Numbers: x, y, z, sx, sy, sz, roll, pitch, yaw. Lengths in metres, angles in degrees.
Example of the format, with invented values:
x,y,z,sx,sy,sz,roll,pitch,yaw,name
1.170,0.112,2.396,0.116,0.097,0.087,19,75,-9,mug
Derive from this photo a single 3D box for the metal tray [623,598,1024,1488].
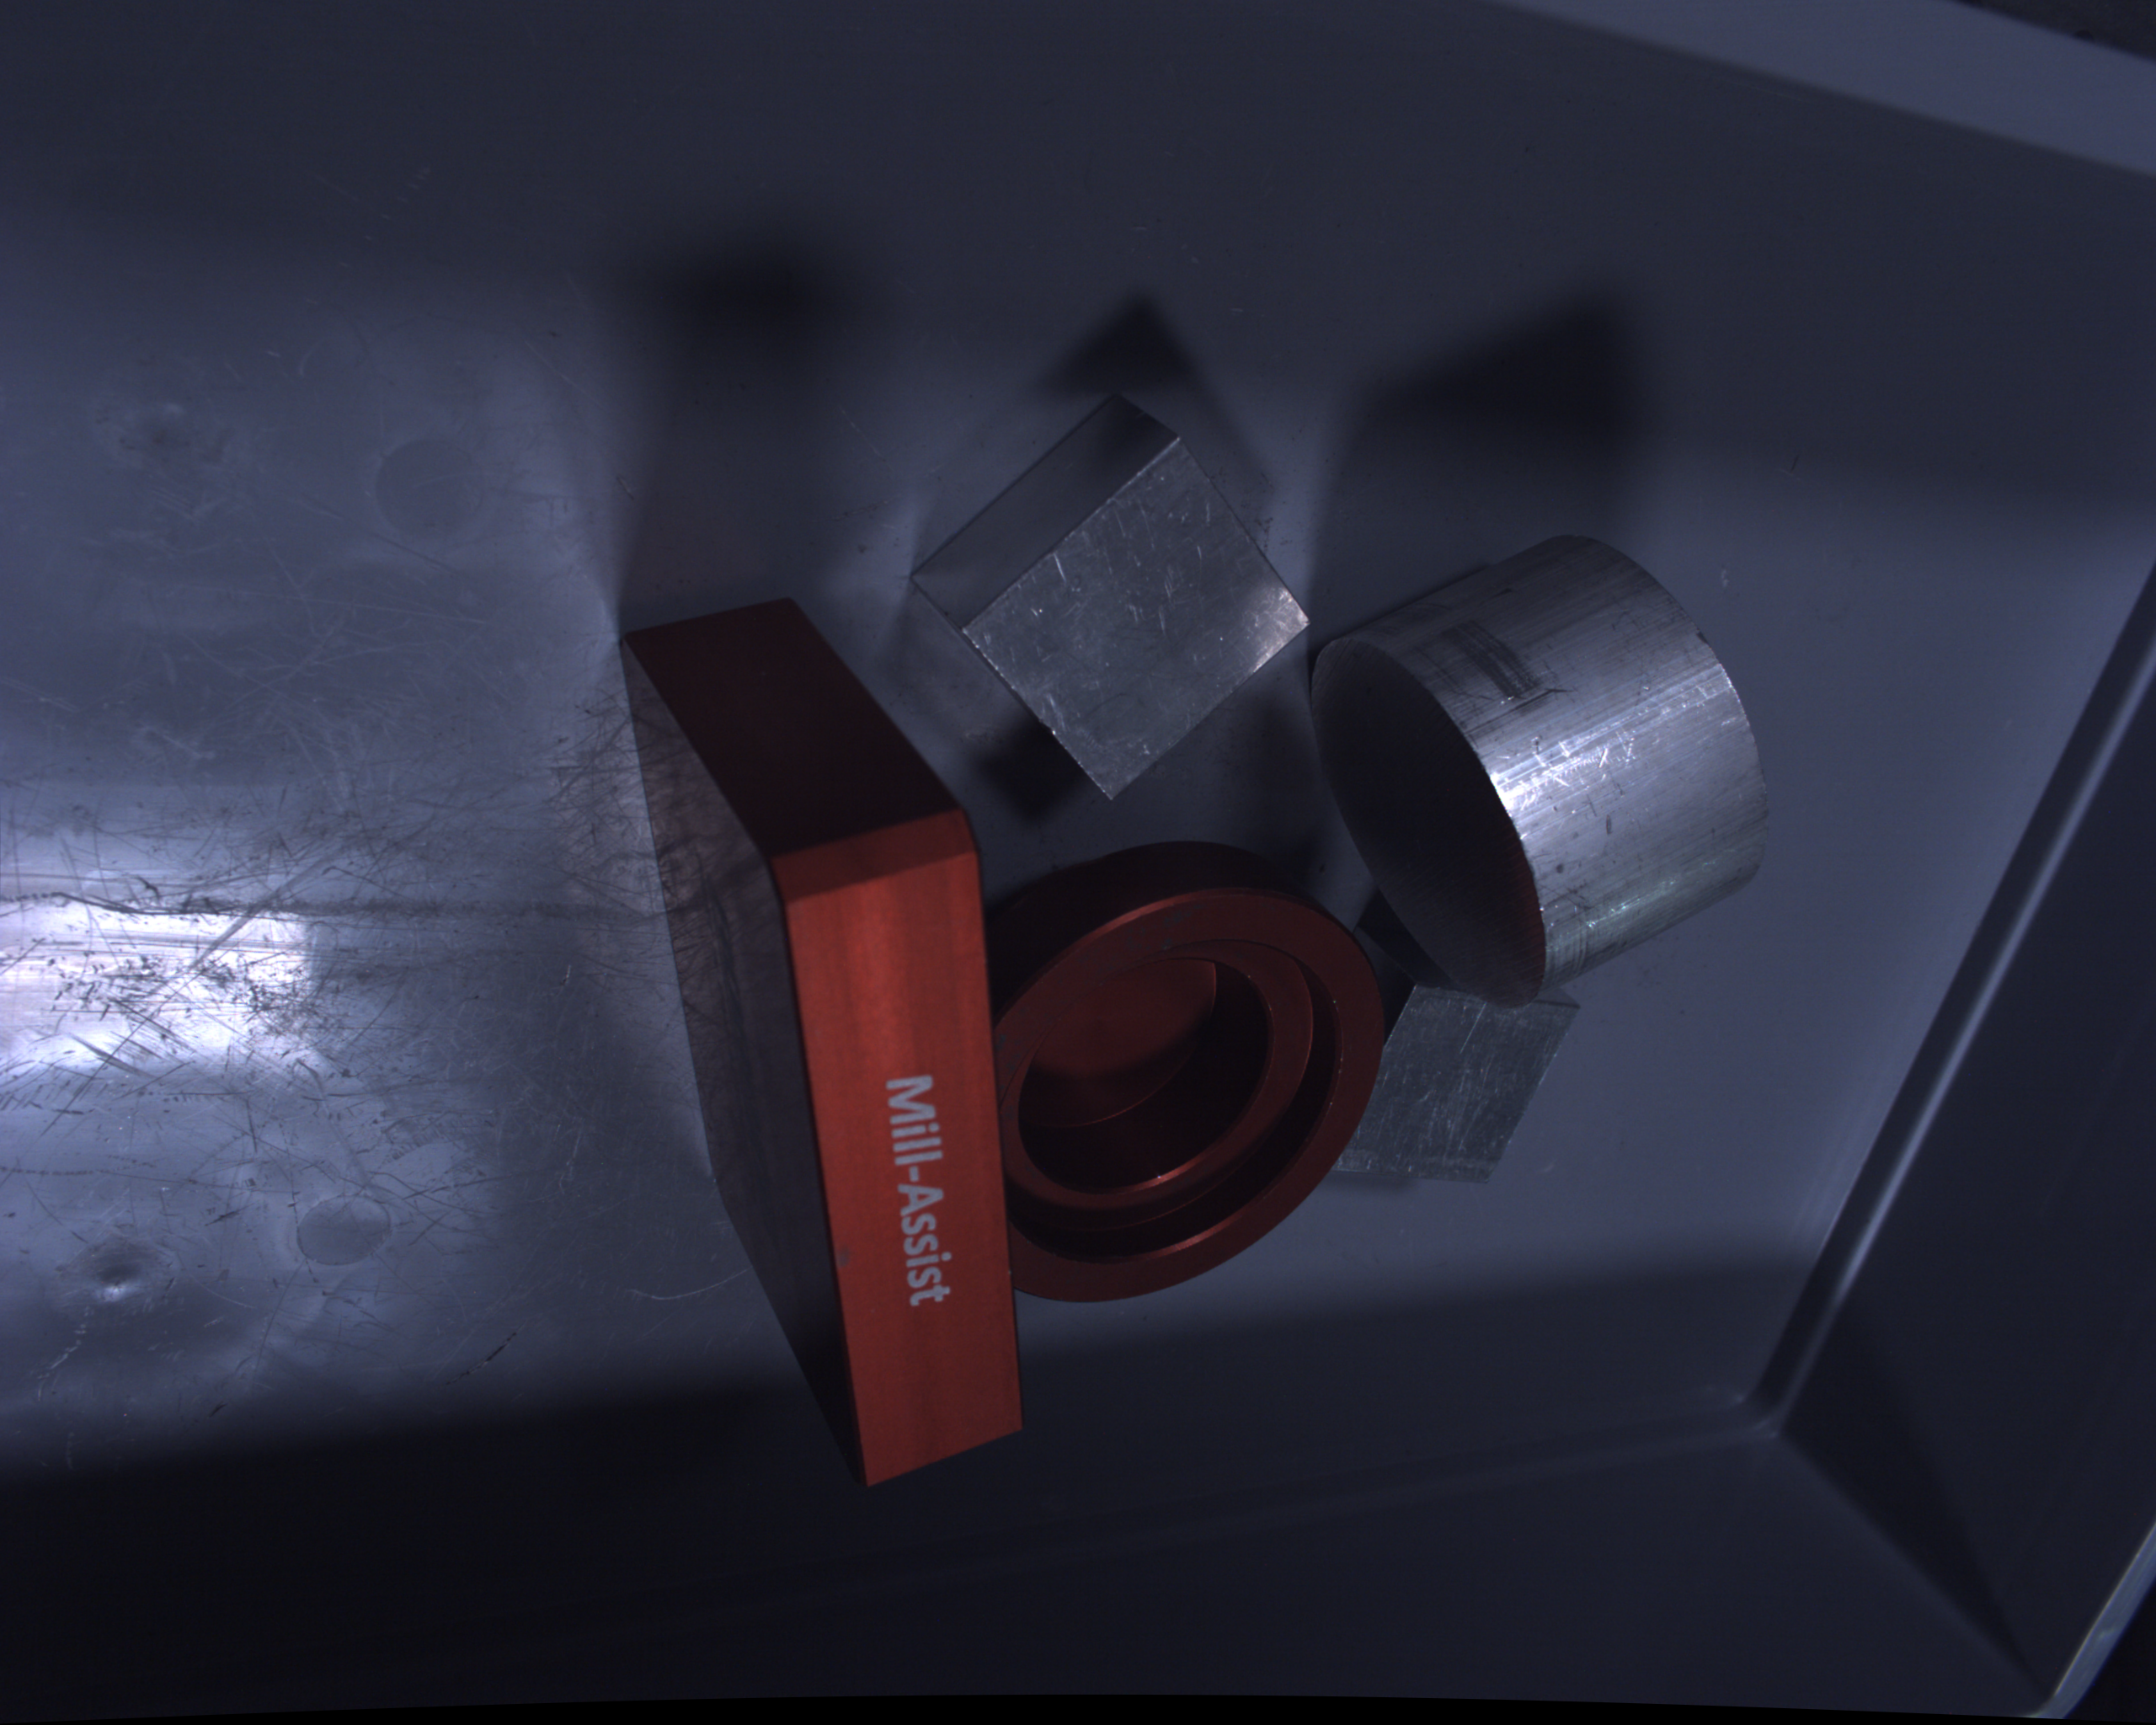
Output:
x,y,z,sx,sy,sz,roll,pitch,yaw,name
-0.044,0.031,0.361,0.030,0.090,0.129,-16,125,-19,metal tray

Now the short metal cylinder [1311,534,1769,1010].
x,y,z,sx,sy,sz,roll,pitch,yaw,name
0.089,-0.018,0.411,0.050,0.080,0.080,-26,128,-13,short metal cylinder

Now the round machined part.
x,y,z,sx,sy,sz,roll,pitch,yaw,name
0.010,0.038,0.424,0.099,0.042,0.097,-14,125,-21,round machined part

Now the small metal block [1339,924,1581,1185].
x,y,z,sx,sy,sz,roll,pitch,yaw,name
0.079,0.045,0.480,0.050,0.025,0.050,10,113,-32,small metal block

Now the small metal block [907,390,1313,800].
x,y,z,sx,sy,sz,roll,pitch,yaw,name
0.006,-0.048,0.382,0.050,0.025,0.050,-42,128,1,small metal block
